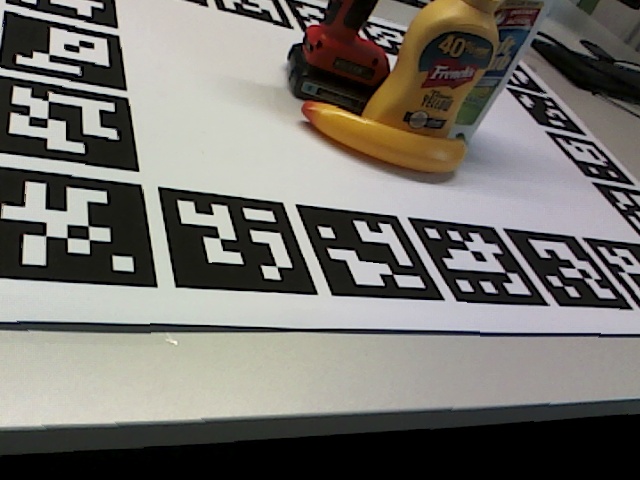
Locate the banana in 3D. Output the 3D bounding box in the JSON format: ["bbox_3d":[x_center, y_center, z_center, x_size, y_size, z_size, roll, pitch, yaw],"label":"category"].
[{"bbox_3d":[0.080,-0.098,0.634,0.196,0.039,0.074,7,43,-21],"label":"banana"}]

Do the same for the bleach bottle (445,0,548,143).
[{"bbox_3d":[0.178,-0.229,0.666,0.102,0.251,0.068,7,37,-25],"label":"bleach bottle"}]

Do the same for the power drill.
[{"bbox_3d":[0.075,-0.245,0.627,0.184,0.187,0.057,15,38,-18],"label":"power drill"}]

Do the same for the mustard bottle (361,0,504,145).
[{"bbox_3d":[0.122,-0.177,0.611,0.095,0.191,0.059,6,43,-27],"label":"mustard bottle"}]
